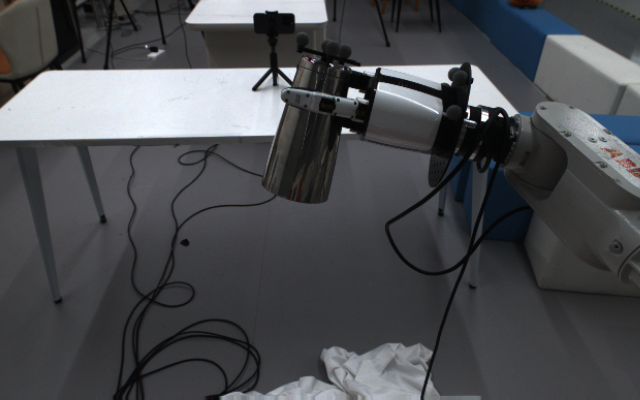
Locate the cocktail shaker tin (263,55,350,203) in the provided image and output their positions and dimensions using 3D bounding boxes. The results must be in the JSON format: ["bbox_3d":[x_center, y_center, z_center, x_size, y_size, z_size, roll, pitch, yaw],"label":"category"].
[{"bbox_3d":[-0.011,-0.094,0.625,0.093,0.170,0.093,14,18,-5],"label":"cocktail shaker tin"}]
